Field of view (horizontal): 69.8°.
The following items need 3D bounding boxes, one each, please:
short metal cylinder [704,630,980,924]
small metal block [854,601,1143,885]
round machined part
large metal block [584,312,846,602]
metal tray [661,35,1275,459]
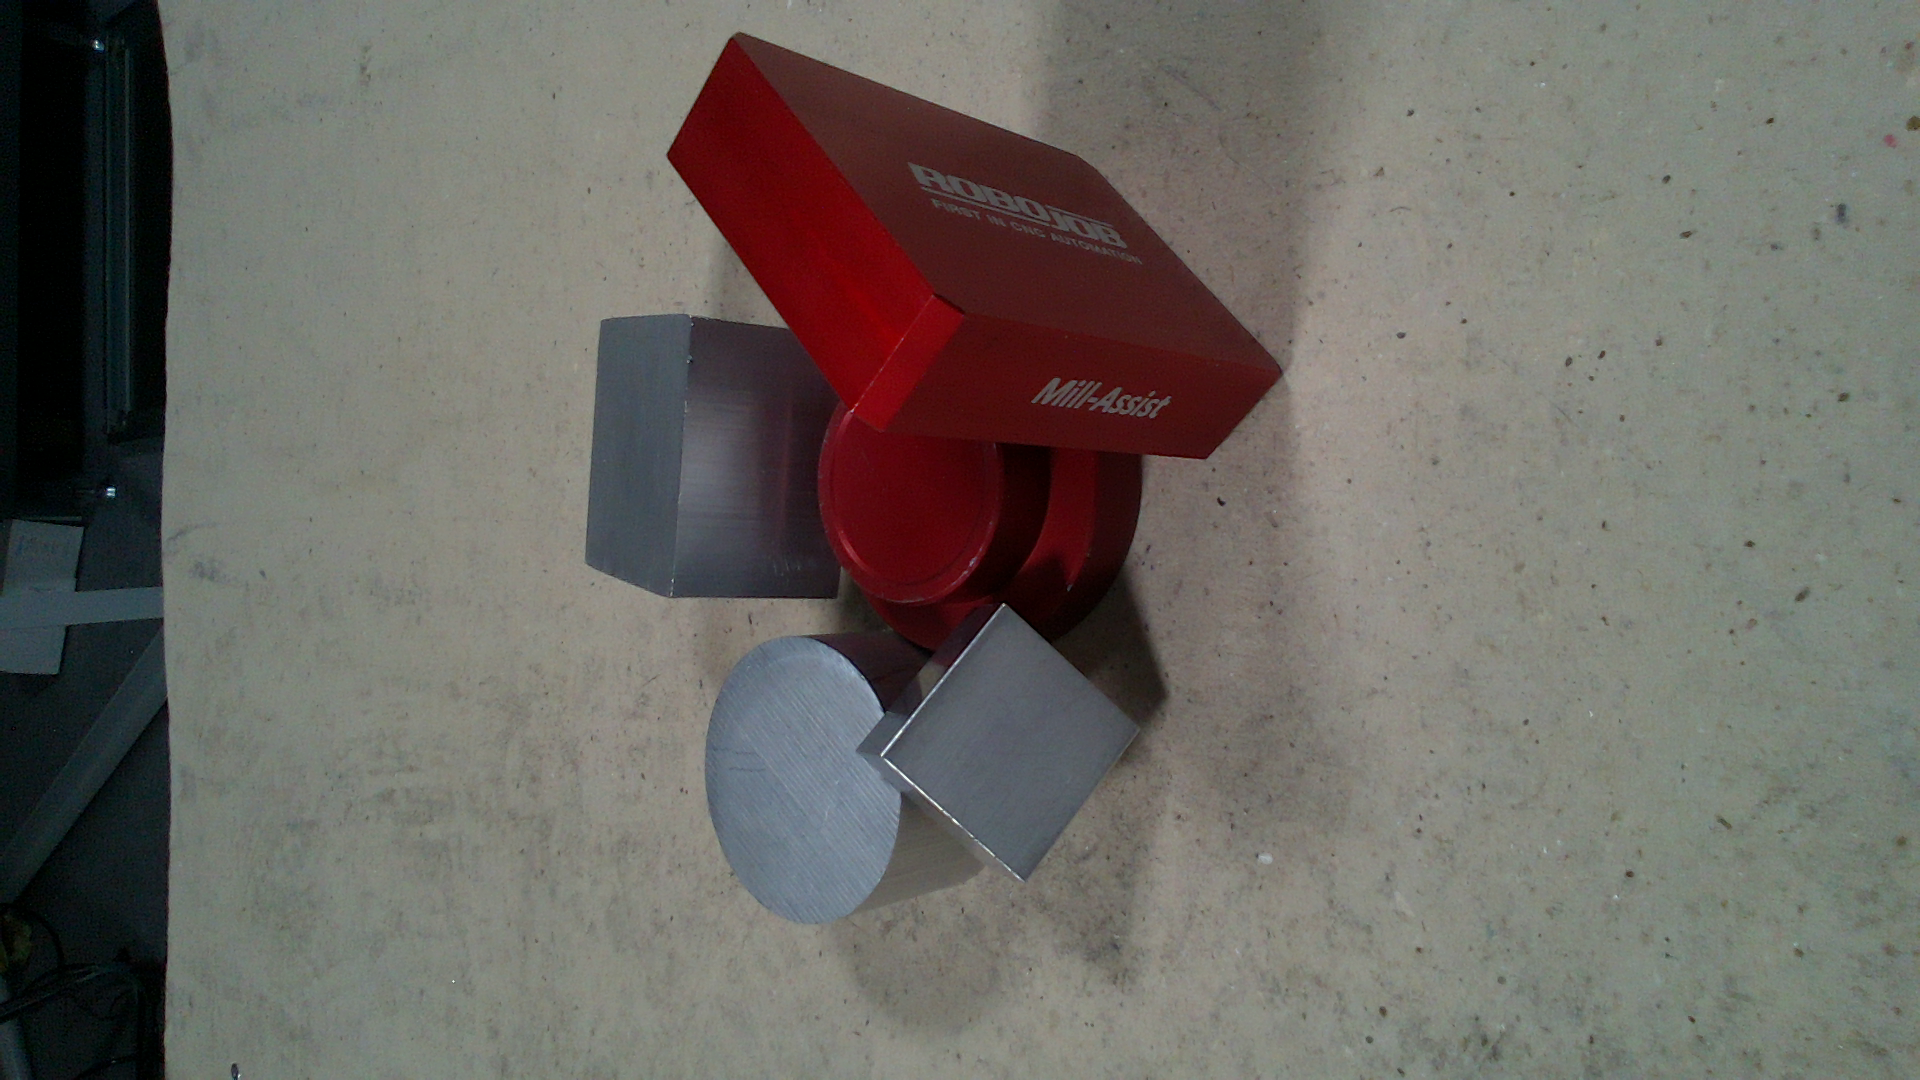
[{"bbox_3d":[-0.030,0.067,0.404,0.080,0.050,0.080,0,90,40],"label":"short metal cylinder"},{"bbox_3d":[0.010,0.052,0.356,0.050,0.050,0.025,43,163,-11],"label":"small metal block"},{"bbox_3d":[-0.001,-0.017,0.386,0.098,0.042,0.098,0,90,40],"label":"round machined part"},{"bbox_3d":[-0.077,-0.027,0.427,0.080,0.050,0.080,12,98,57],"label":"large metal block"},{"bbox_3d":[0.007,-0.063,0.318,0.030,0.131,0.090,-52,60,27],"label":"metal tray"}]
